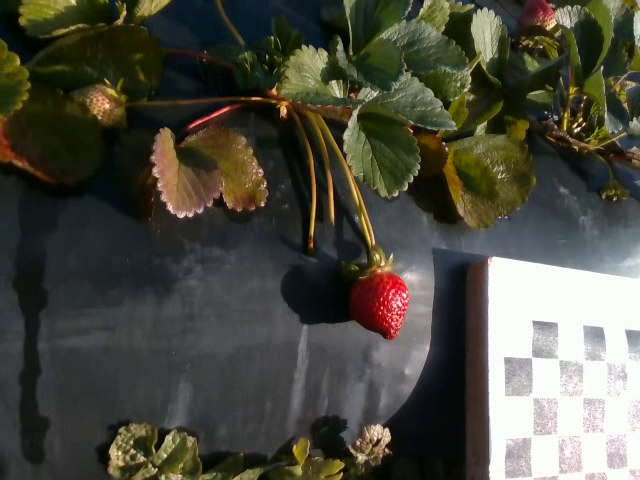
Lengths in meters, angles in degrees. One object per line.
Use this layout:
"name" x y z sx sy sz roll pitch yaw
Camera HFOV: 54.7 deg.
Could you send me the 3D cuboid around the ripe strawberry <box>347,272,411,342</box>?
"ripe strawberry" 0.034 0.037 0.328 0.040 0.044 0.036 -13 -13 -29
